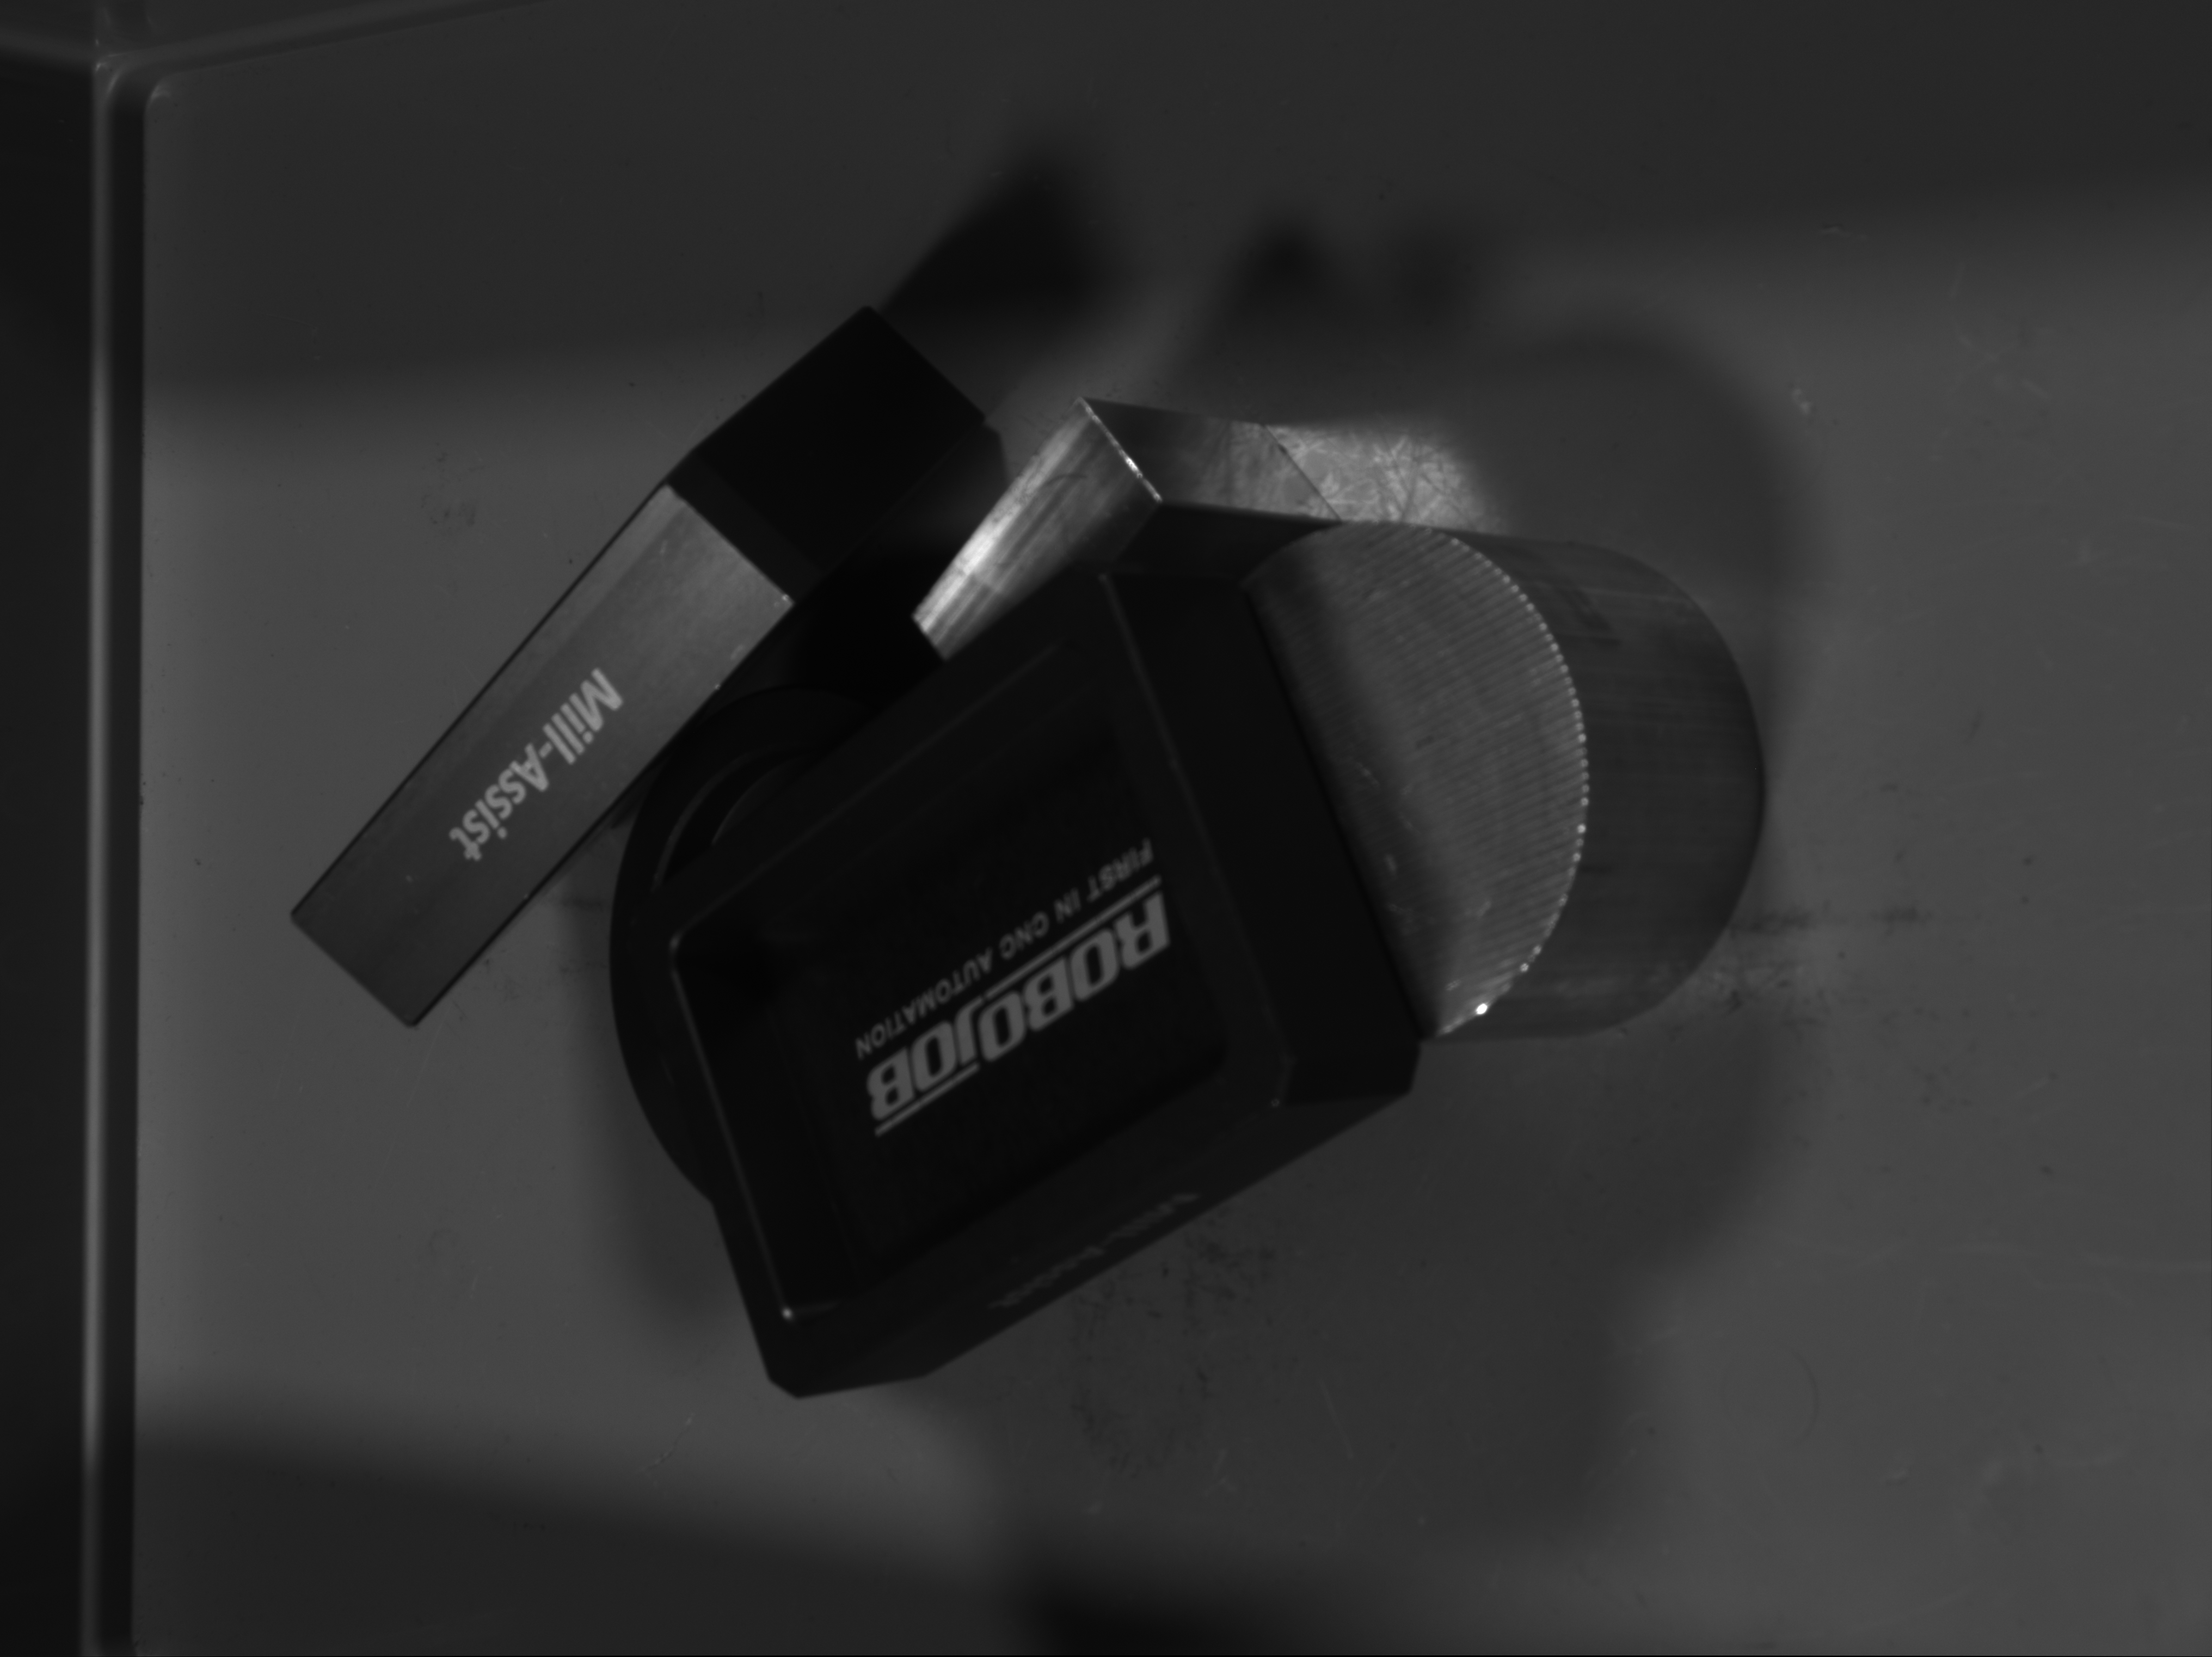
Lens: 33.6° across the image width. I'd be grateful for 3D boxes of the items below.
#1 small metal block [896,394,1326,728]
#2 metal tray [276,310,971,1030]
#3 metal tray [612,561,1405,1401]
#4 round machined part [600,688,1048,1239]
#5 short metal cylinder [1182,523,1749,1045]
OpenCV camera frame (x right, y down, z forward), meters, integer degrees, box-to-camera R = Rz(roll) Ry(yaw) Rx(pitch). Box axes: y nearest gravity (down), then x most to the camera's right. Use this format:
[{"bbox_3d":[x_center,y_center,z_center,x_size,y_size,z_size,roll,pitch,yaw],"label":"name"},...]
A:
[{"bbox_3d":[0.001,-0.043,0.617,0.050,0.050,0.025,-50,61,26],"label":"small metal block"},{"bbox_3d":[-0.087,-0.029,0.662,0.030,0.090,0.130,43,120,-5],"label":"metal tray"},{"bbox_3d":[-0.020,0.027,0.586,0.130,0.030,0.090,-35,68,39],"label":"metal tray"},{"bbox_3d":[-0.043,0.024,0.660,0.098,0.042,0.098,0,90,39],"label":"round machined part"},{"bbox_3d":[0.053,-0.006,0.574,0.080,0.050,0.080,0,90,39],"label":"short metal cylinder"}]
